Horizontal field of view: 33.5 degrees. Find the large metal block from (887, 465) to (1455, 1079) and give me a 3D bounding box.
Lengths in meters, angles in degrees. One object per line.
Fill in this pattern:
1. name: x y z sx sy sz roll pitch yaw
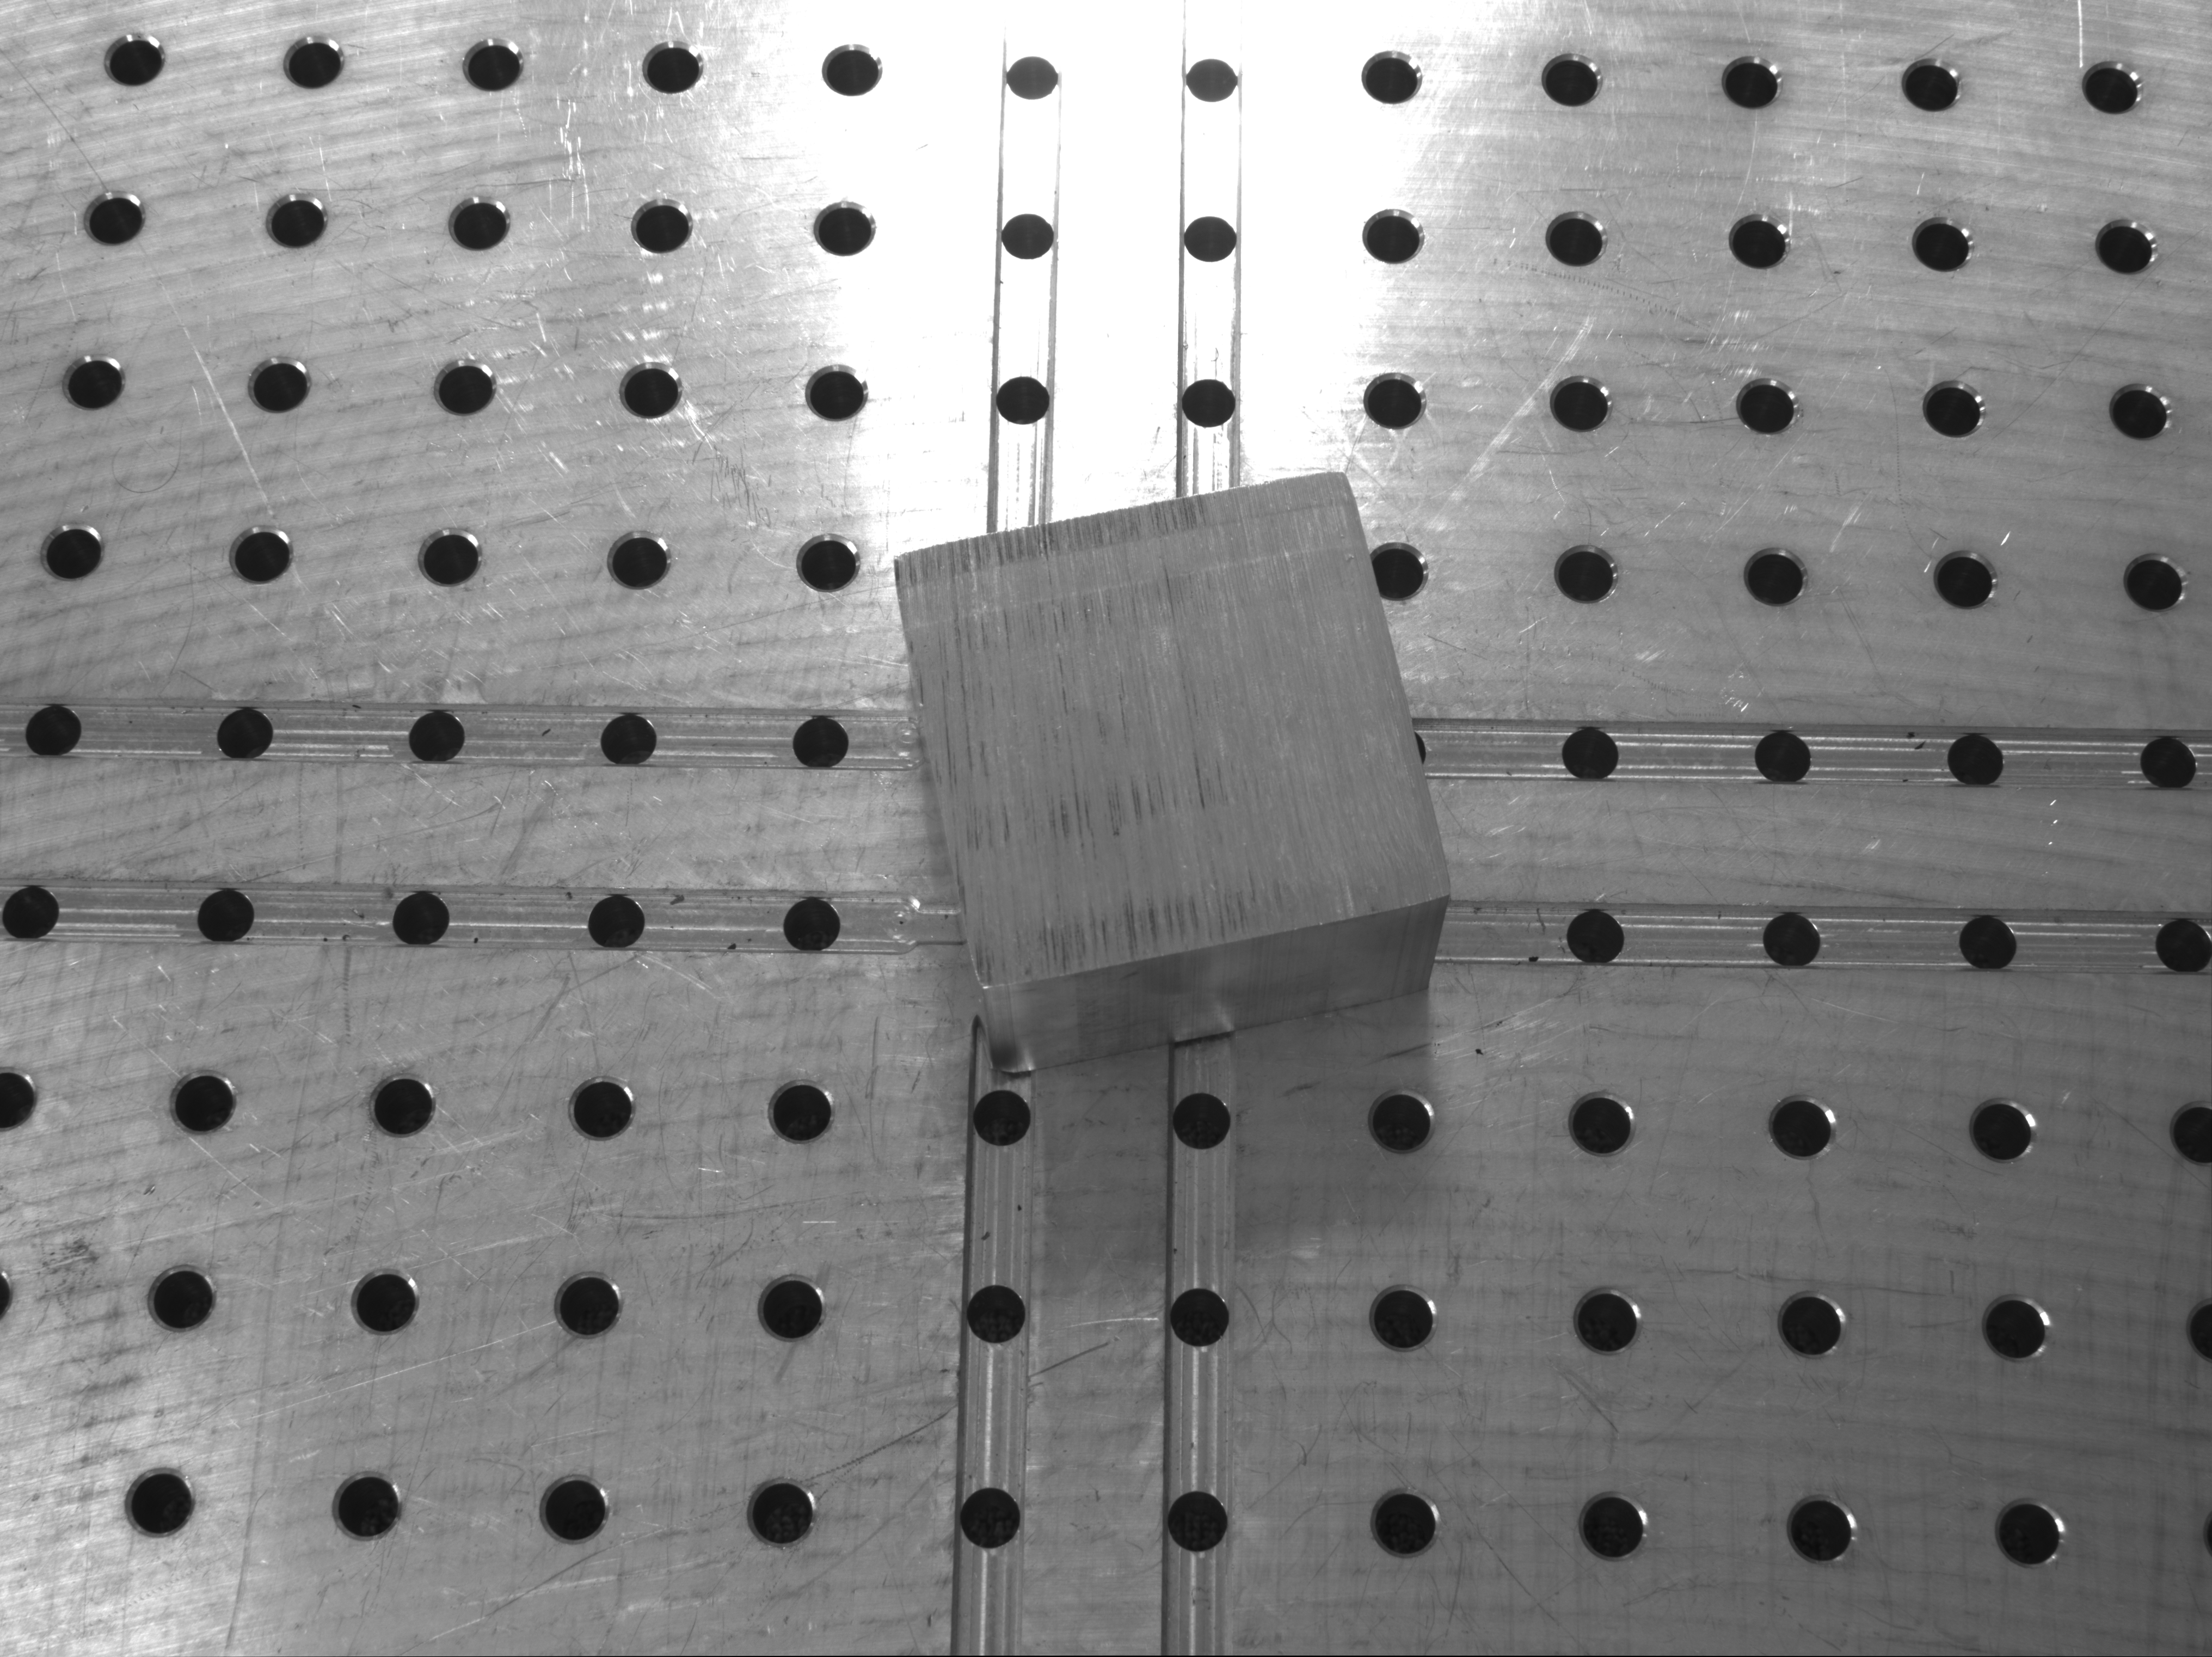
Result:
1. large metal block: 0.010 -0.009 0.637 0.080 0.050 0.080 -11 70 -4
